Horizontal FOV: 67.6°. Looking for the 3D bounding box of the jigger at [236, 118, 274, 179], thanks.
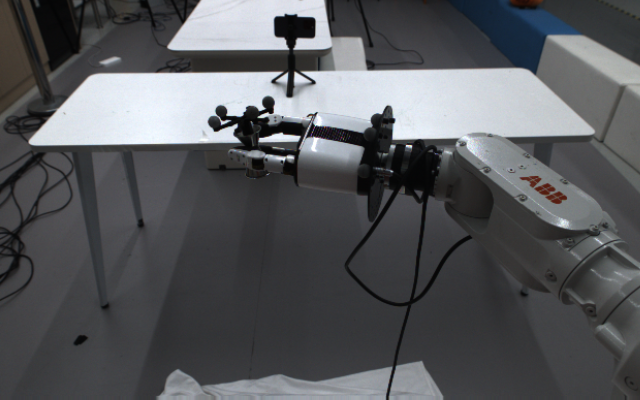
[{"bbox_3d":[-0.095,-0.069,0.700,0.043,0.071,0.043,-10,32,6],"label":"jigger"}]
